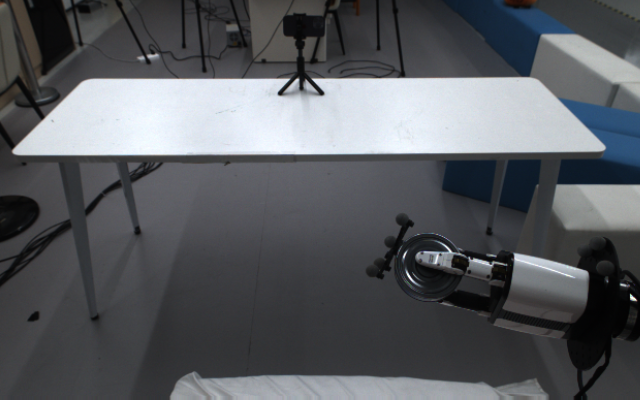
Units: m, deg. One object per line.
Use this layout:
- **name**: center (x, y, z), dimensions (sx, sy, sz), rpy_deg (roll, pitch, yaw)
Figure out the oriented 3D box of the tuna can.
- **tuna can**: center (0.141, 0.083, 0.618), dimensions (0.085, 0.034, 0.085), rpy_deg (-2, 71, 5)
